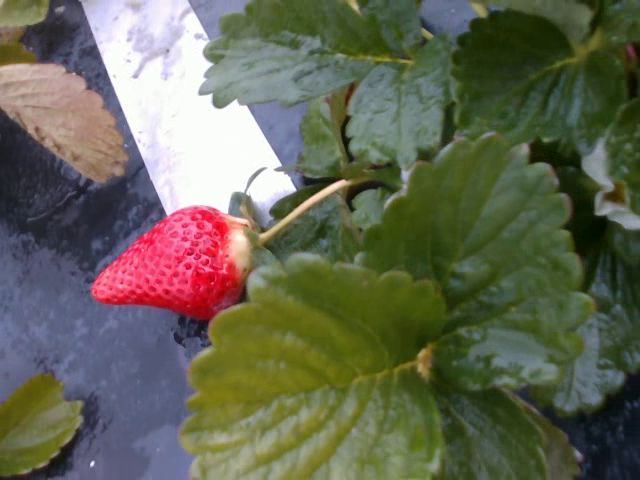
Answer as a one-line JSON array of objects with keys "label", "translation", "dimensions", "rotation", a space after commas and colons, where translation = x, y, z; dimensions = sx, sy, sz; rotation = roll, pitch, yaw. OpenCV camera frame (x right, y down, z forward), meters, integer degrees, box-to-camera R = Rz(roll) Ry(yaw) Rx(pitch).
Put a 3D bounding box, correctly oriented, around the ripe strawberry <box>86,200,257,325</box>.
[{"label": "ripe strawberry", "translation": [-0.045, 0.008, 0.179], "dimensions": [0.051, 0.042, 0.038], "rotation": [-19, 2, 0]}]
